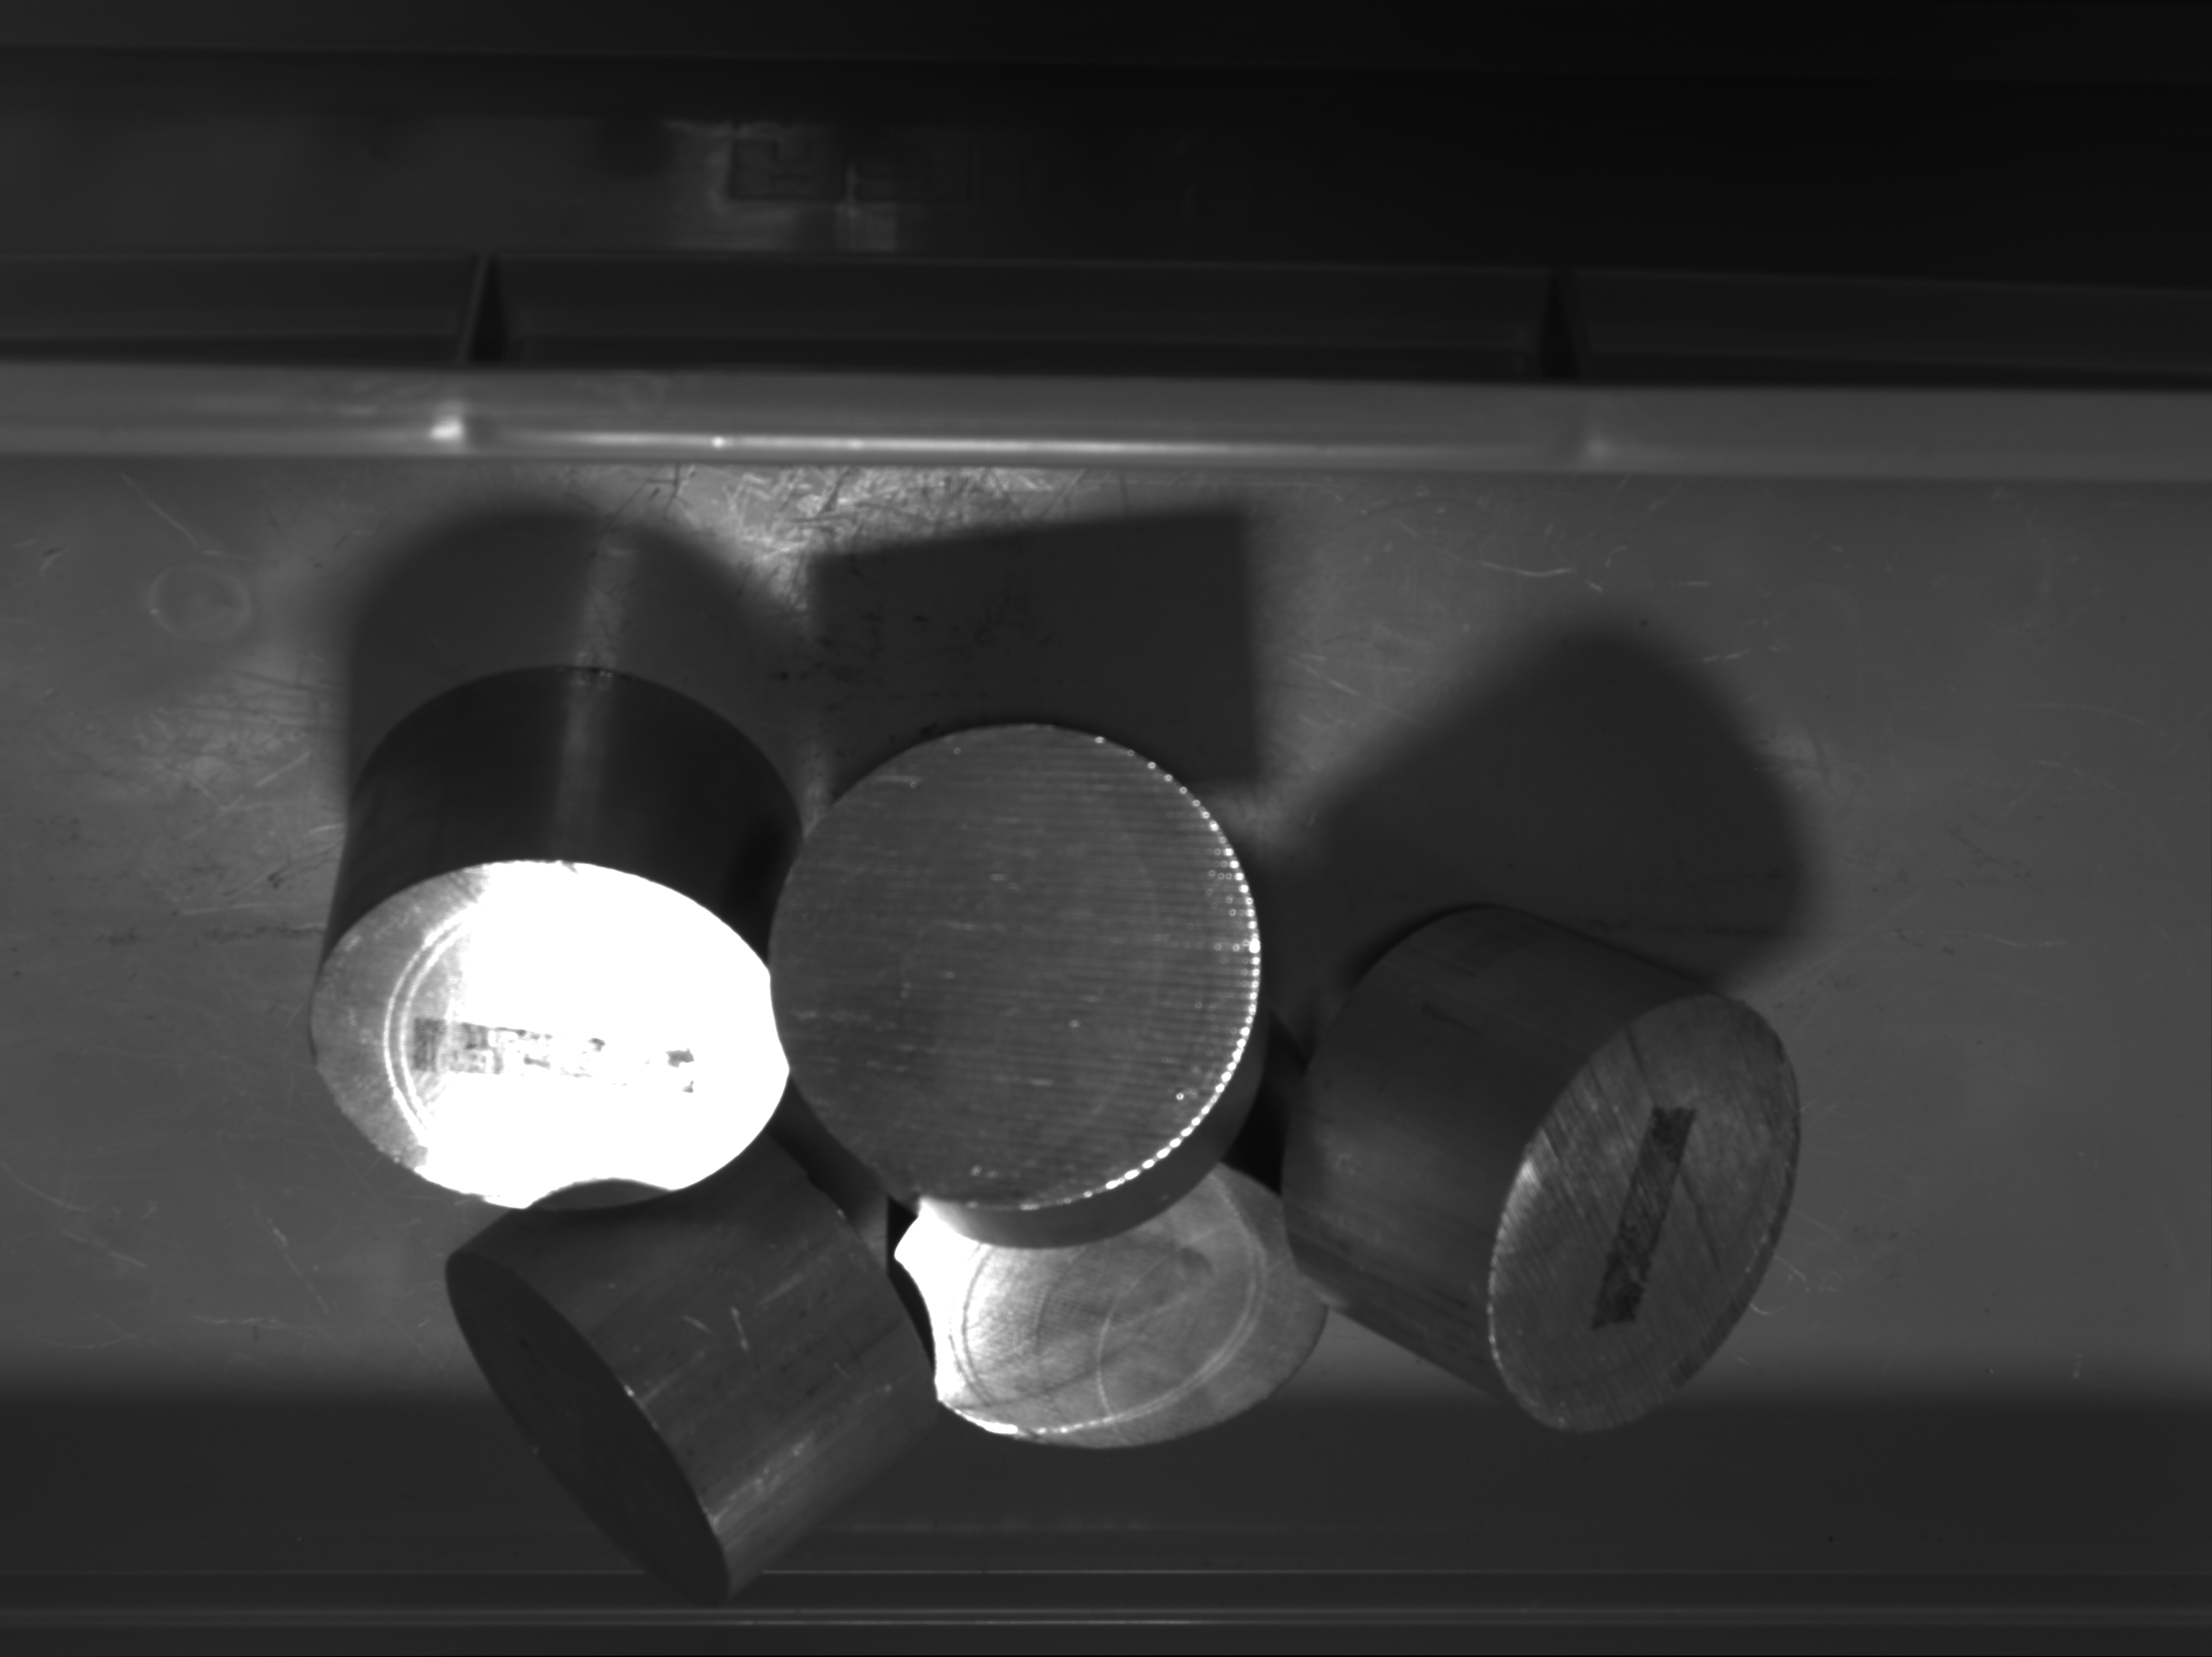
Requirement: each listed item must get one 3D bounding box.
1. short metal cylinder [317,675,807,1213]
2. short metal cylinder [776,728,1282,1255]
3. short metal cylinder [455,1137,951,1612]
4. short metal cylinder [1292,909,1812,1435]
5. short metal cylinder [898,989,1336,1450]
[{"bbox_3d":[-0.092,0.021,0.633,0.080,0.050,0.080,-1,130,-1],"label":"short metal cylinder"},{"bbox_3d":[-0.012,0.028,0.615,0.080,0.080,0.050,-6,165,3],"label":"short metal cylinder"},{"bbox_3d":[-0.074,0.095,0.670,0.050,0.080,0.080,-37,135,-26],"label":"short metal cylinder"},{"bbox_3d":[0.079,0.060,0.647,0.080,0.050,0.080,-18,118,-37],"label":"short metal cylinder"},{"bbox_3d":[0.002,0.070,0.679,0.080,0.050,0.080,-1,130,-1],"label":"short metal cylinder"}]
